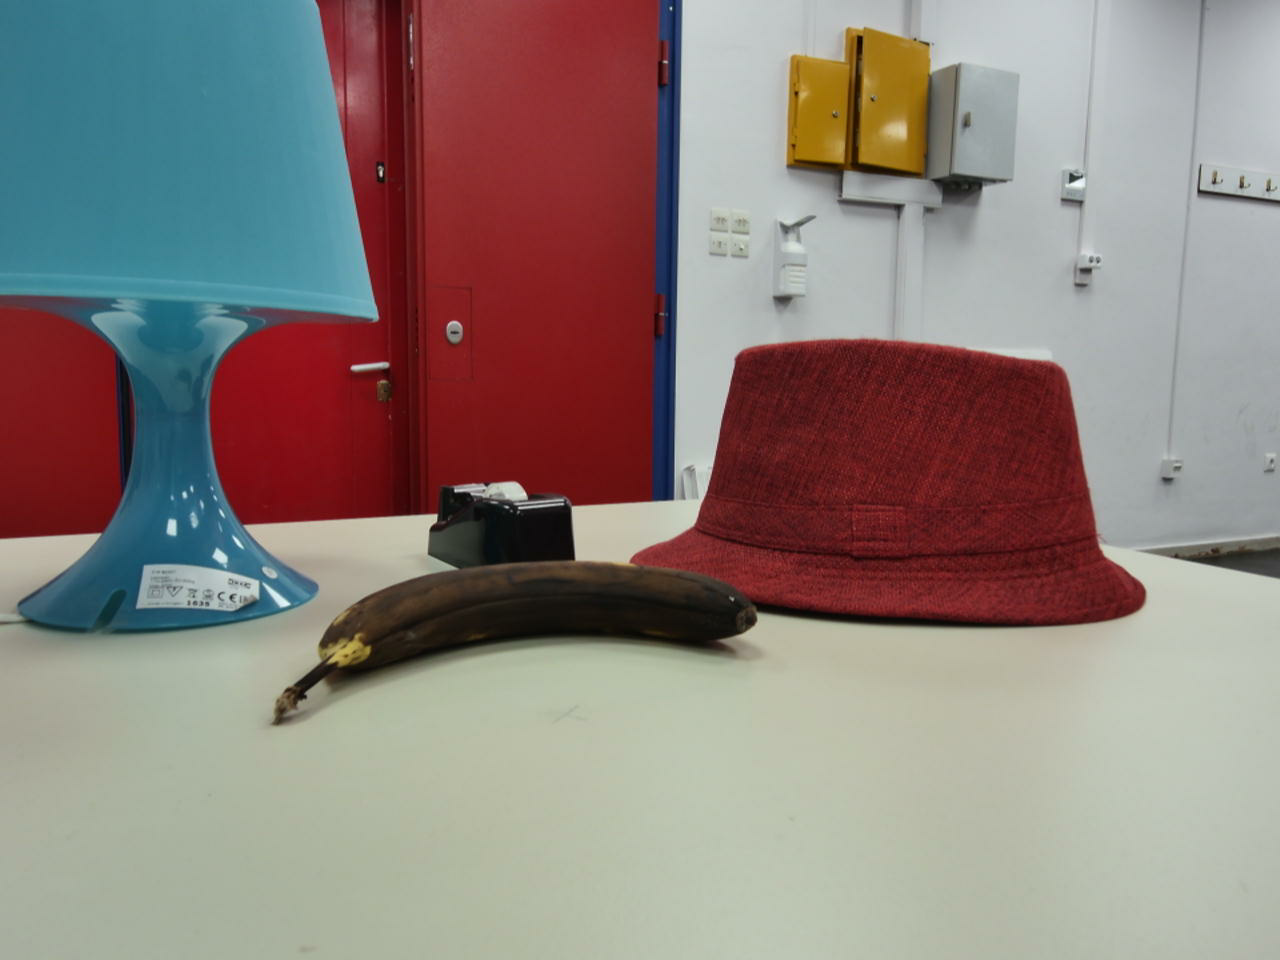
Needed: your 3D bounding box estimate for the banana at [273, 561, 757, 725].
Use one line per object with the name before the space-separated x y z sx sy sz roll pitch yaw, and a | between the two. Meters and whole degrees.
banana | -0.051 0.055 0.402 0.188 0.033 0.091 -2 4 -25
